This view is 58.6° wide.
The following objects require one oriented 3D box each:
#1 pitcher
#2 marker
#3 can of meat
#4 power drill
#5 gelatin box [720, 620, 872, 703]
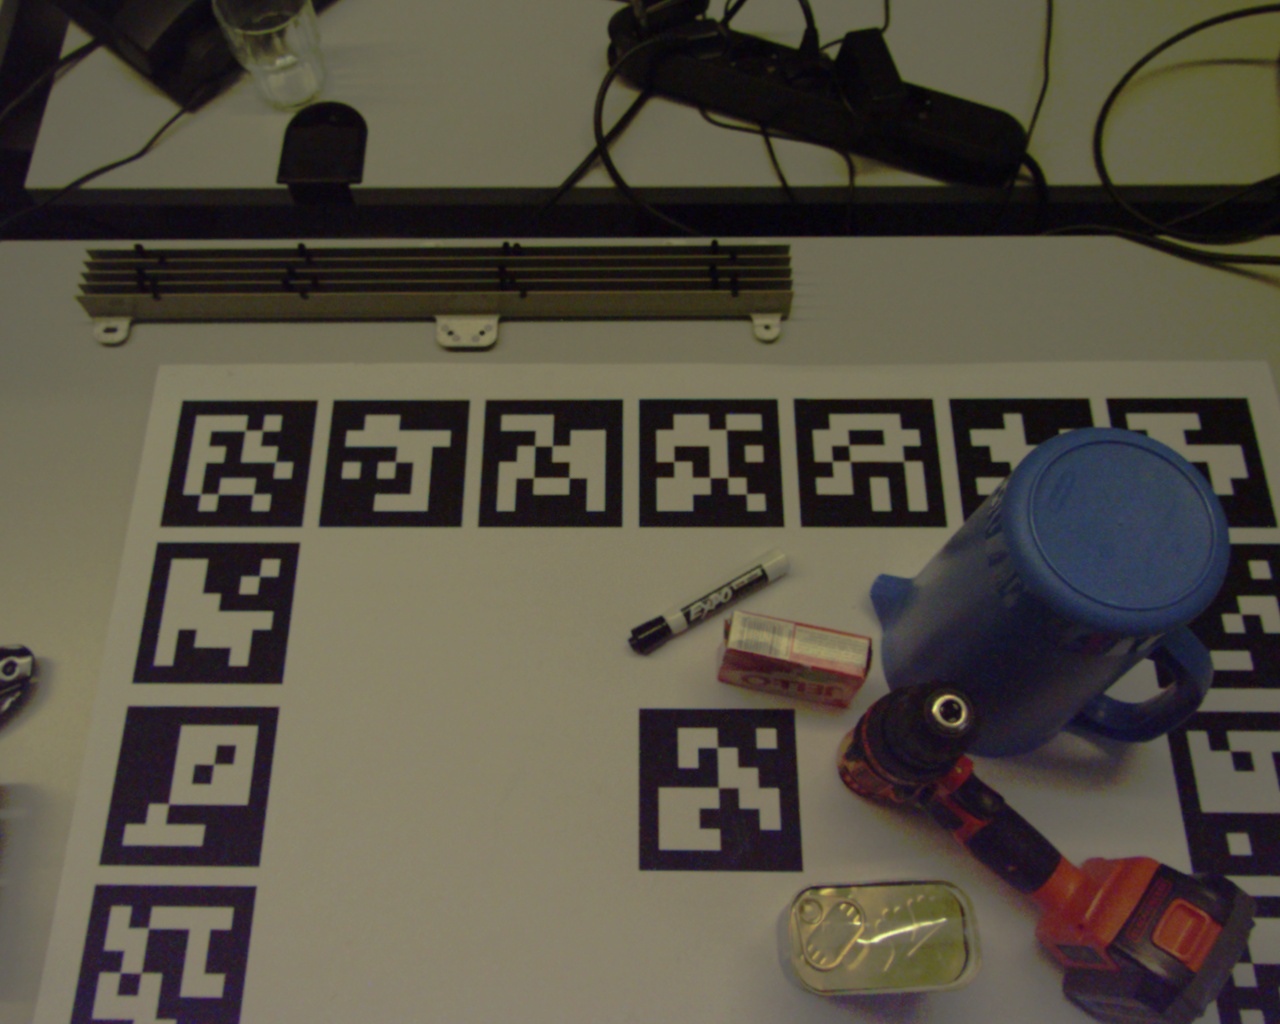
[{"bbox_3d":[0.245,0.068,0.676,0.190,0.241,0.133,30,75,18],"label":"pitcher"},{"bbox_3d":[0.047,0.058,0.794,0.121,0.019,0.020,-25,71,-8],"label":"marker"},{"bbox_3d":[0.128,0.249,0.680,0.102,0.083,0.058,-1,66,0],"label":"can of meat"},{"bbox_3d":[0.196,0.172,0.660,0.188,0.184,0.057,35,75,7],"label":"power drill"},{"bbox_3d":[0.101,0.100,0.750,0.089,0.073,0.030,11,73,3],"label":"gelatin box"}]
